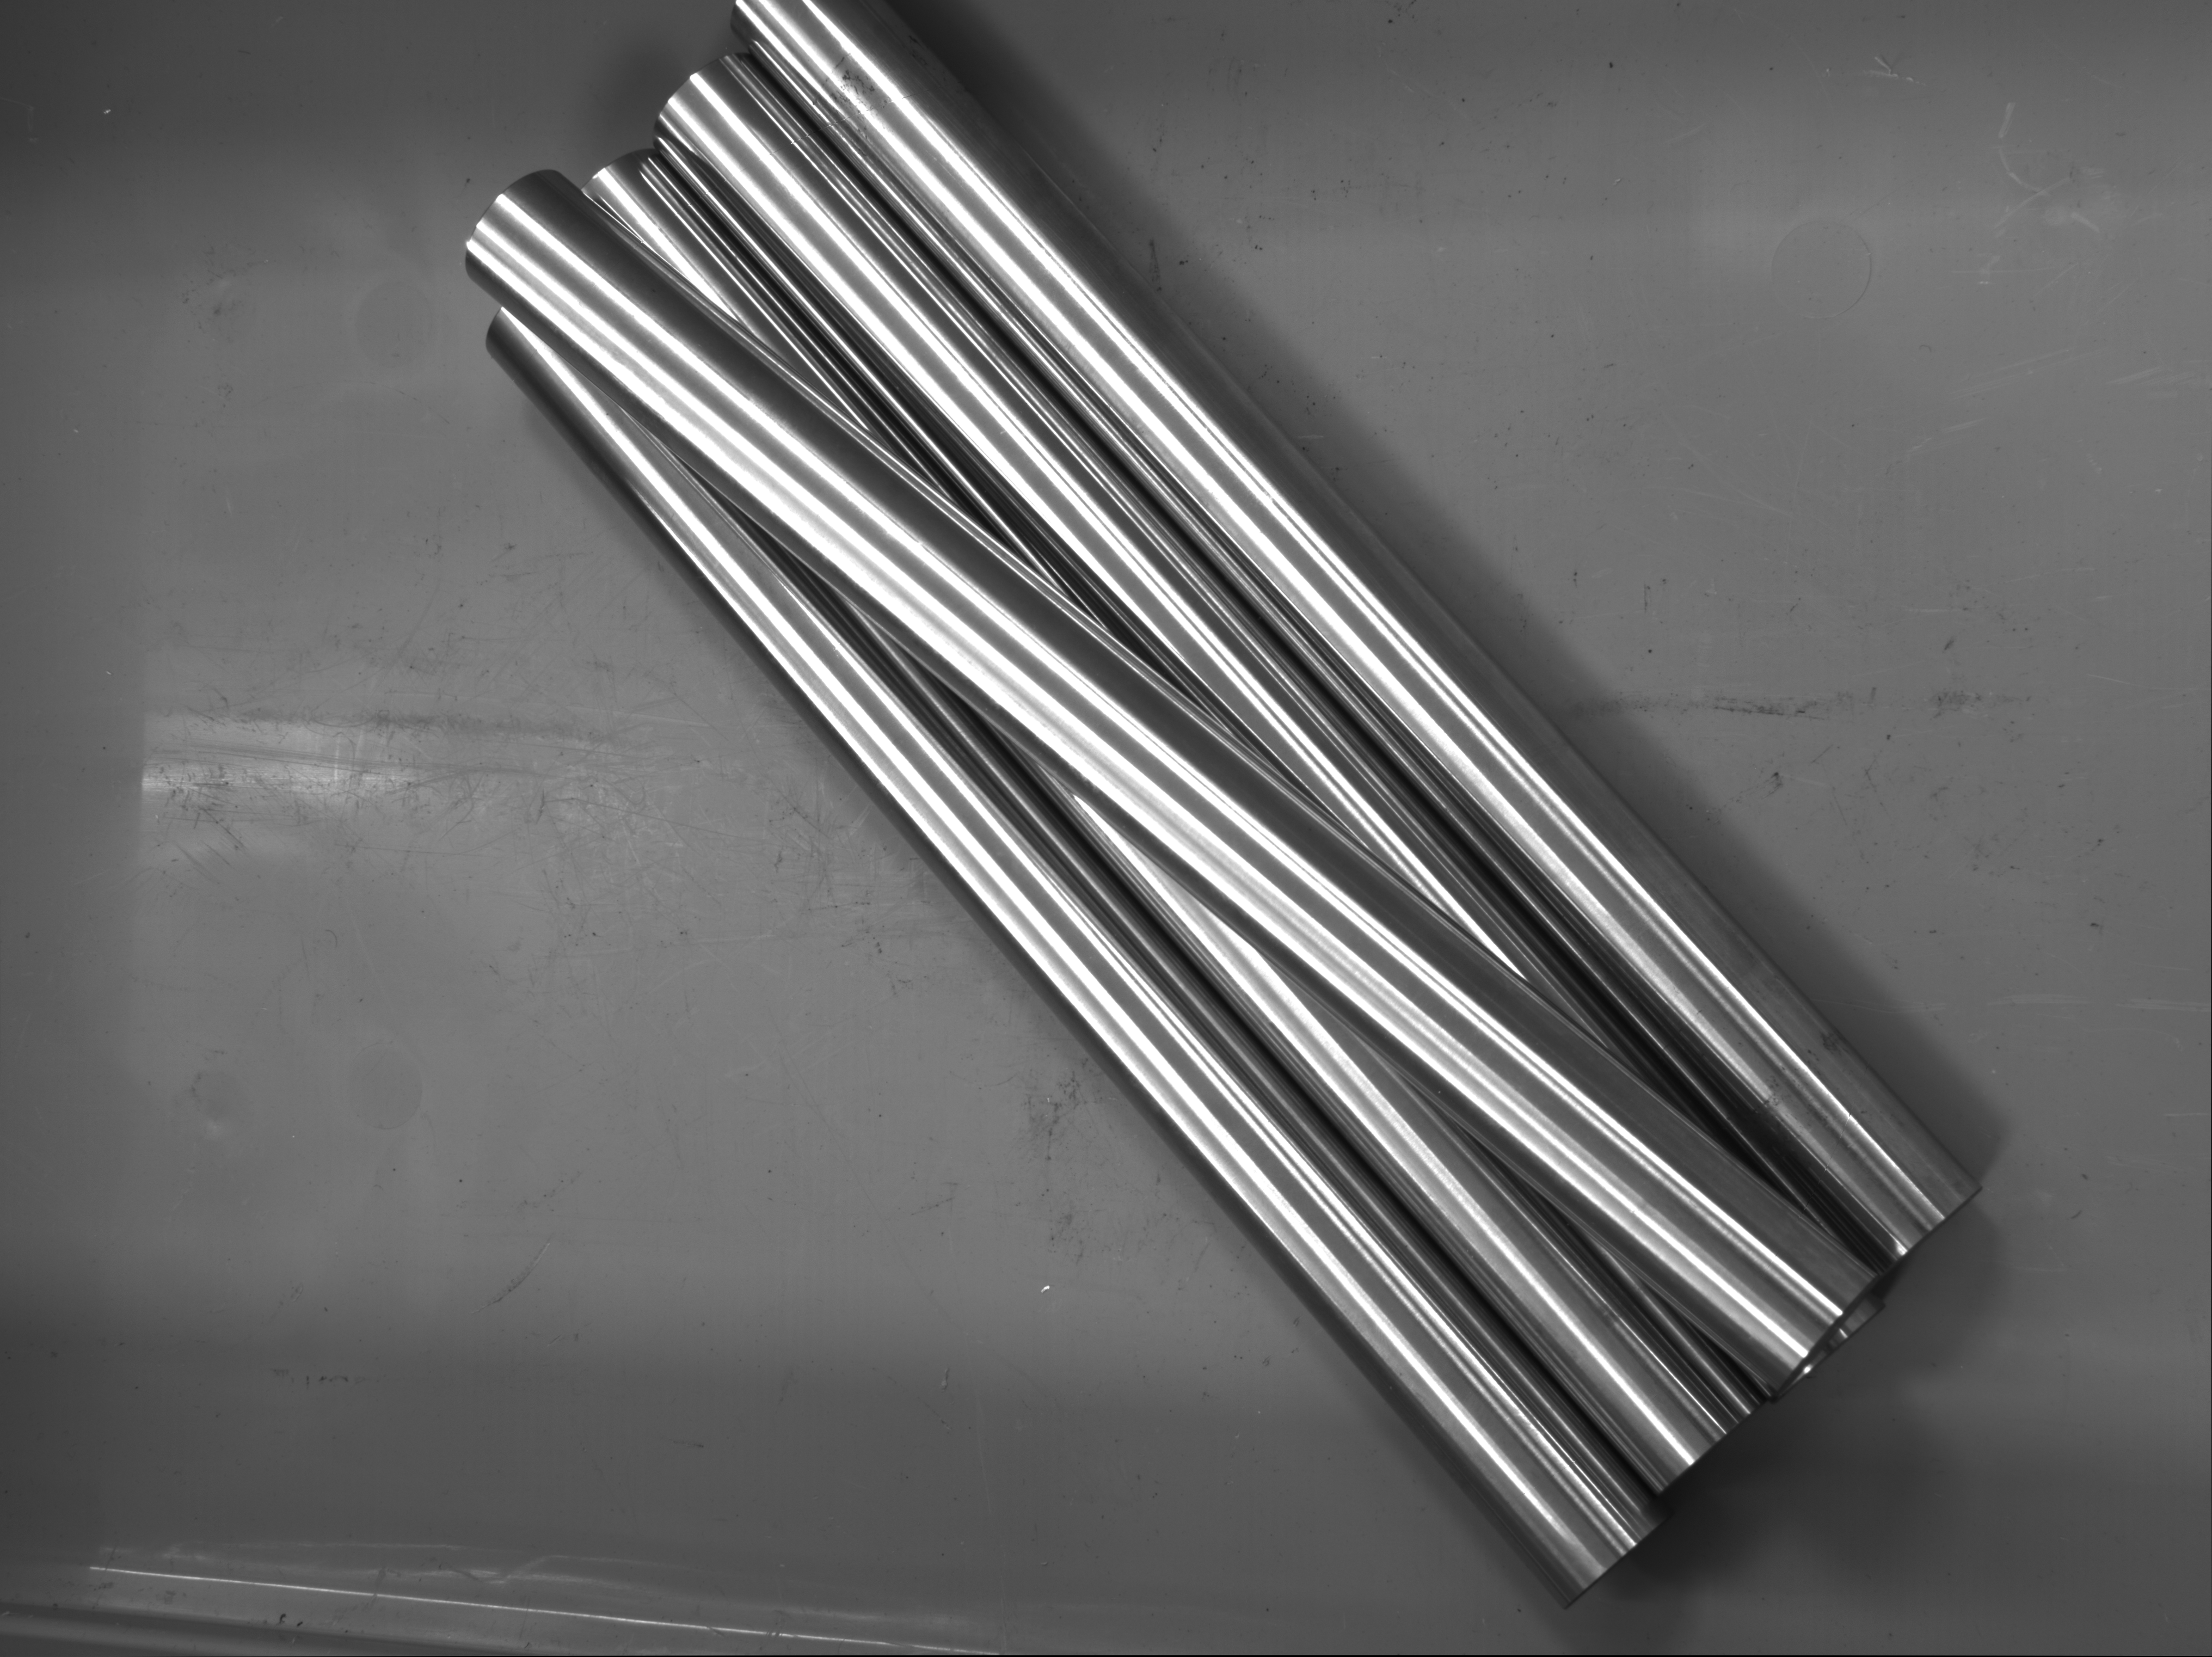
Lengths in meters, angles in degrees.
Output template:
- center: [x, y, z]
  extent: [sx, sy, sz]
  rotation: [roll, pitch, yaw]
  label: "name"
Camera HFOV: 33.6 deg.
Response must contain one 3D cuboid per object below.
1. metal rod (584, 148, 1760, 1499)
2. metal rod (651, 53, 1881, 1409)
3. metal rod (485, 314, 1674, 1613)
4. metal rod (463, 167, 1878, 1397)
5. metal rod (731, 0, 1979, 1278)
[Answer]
- center: [0.005, -0.007, 0.644]
  extent: [0.025, 0.025, 0.300]
  rotation: [-45, 76, 15]
  label: "metal rod"
- center: [0.022, -0.023, 0.637]
  extent: [0.025, 0.025, 0.300]
  rotation: [-45, 76, 15]
  label: "metal rod"
- center: [-0.010, 0.013, 0.649]
  extent: [0.025, 0.025, 0.300]
  rotation: [-45, 76, 15]
  label: "metal rod"
- center: [0.004, -0.014, 0.616]
  extent: [0.299, 0.025, 0.025]
  rotation: [41, 103, 15]
  label: "metal rod"
- center: [0.037, -0.043, 0.632]
  extent: [0.025, 0.025, 0.300]
  rotation: [-45, 76, 15]
  label: "metal rod"
